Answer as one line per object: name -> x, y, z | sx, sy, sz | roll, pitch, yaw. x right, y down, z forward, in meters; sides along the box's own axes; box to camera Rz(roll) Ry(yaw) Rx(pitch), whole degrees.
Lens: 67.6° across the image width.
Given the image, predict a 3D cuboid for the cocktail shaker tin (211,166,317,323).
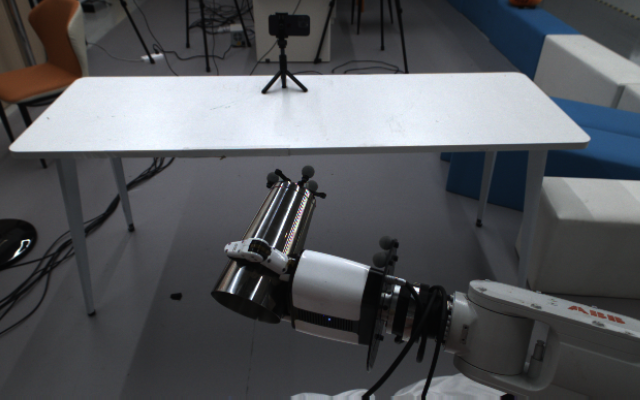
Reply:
cocktail shaker tin -> -0.065, 0.062, 0.628 | 0.093, 0.093, 0.170 | 14, 60, 16
